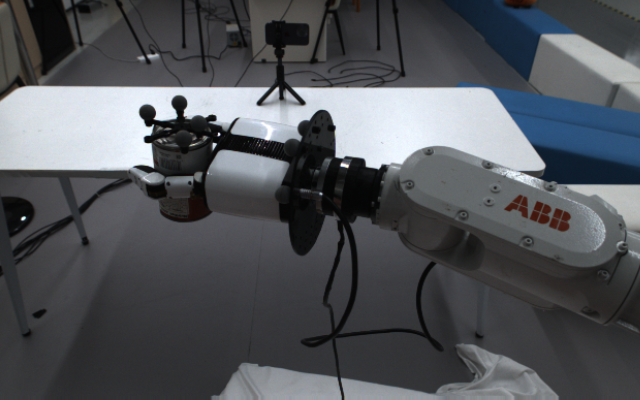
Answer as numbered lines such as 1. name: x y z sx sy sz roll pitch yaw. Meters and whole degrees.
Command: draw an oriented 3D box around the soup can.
1. soup can: -0.156 -0.033 0.563 0.067 0.101 0.067 5 37 -4
